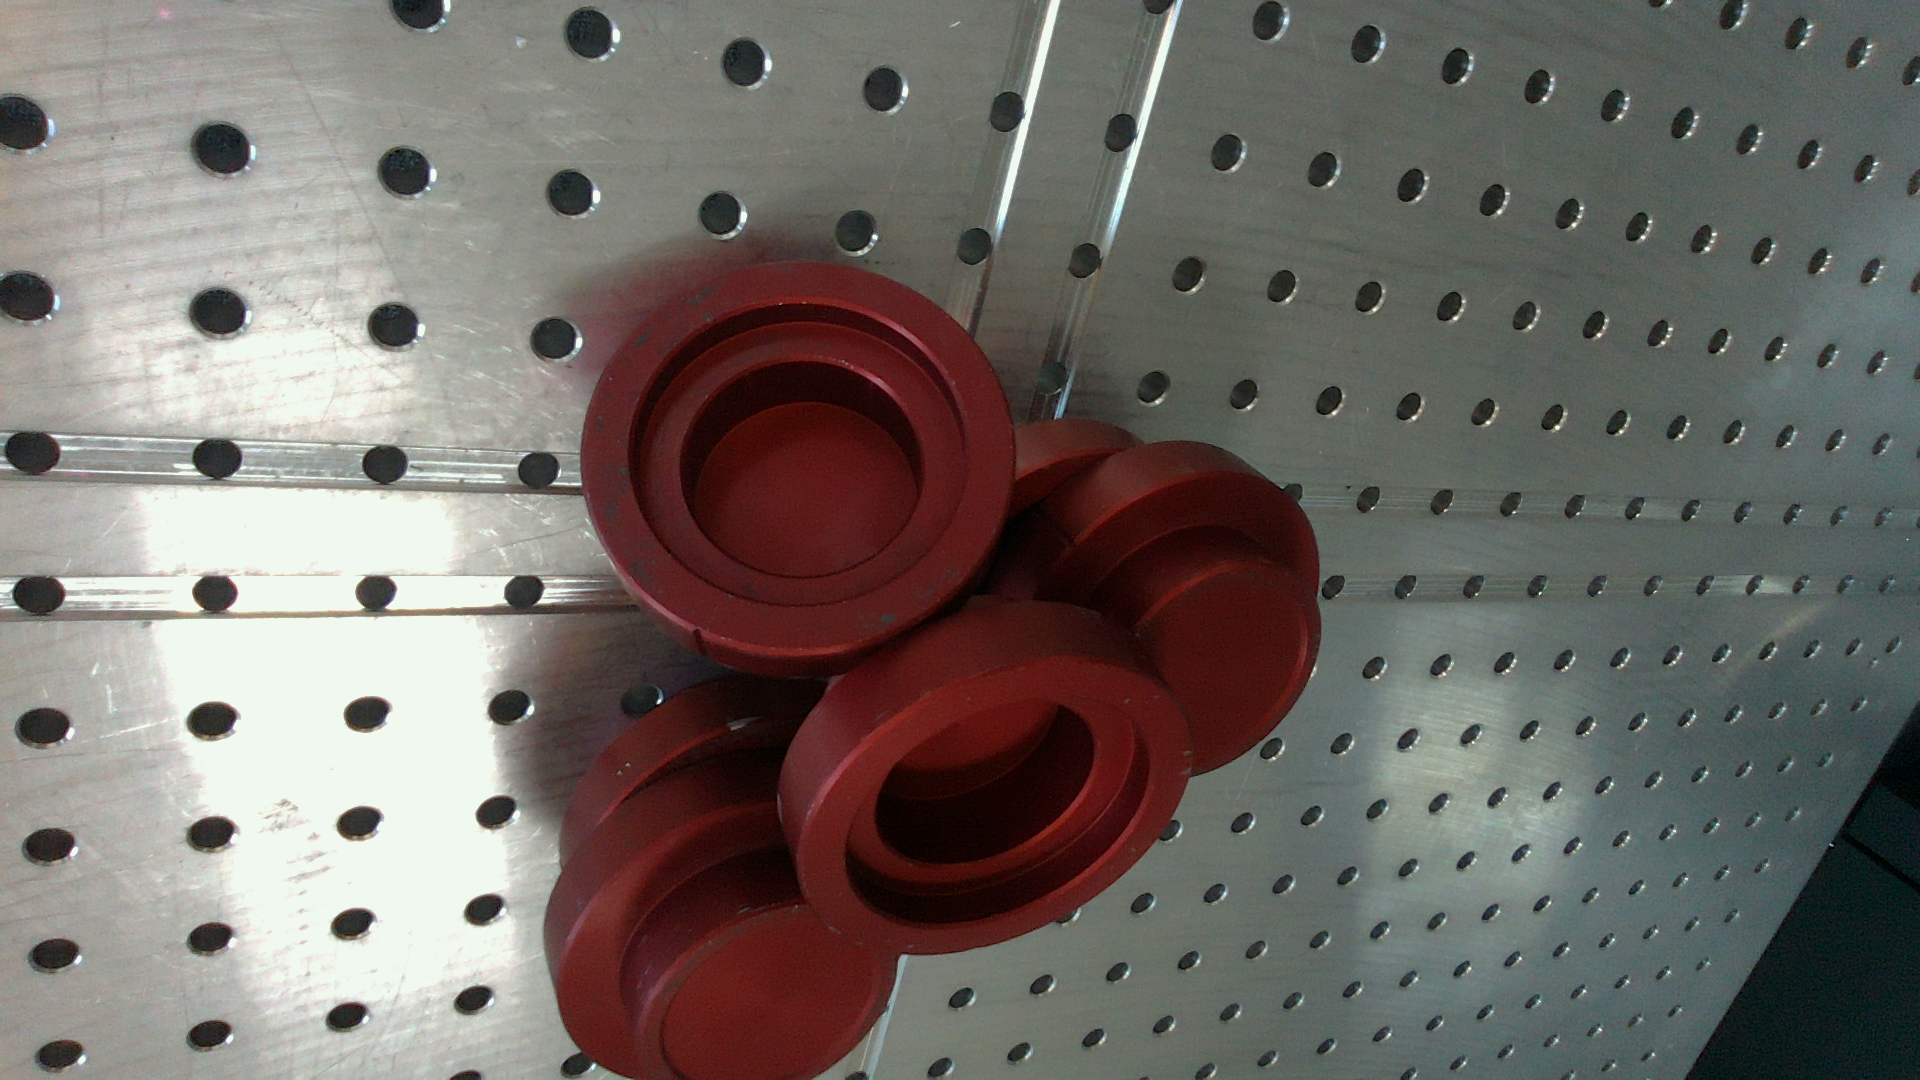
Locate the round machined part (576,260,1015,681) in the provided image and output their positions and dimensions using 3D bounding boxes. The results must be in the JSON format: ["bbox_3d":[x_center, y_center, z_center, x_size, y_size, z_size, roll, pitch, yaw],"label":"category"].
[{"bbox_3d":[-0.038,-0.014,0.328,0.098,0.098,0.042,-25,163,-13],"label":"round machined part"}]

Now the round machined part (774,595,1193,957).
[{"bbox_3d":[0.003,0.052,0.332,0.098,0.042,0.098,-13,131,-15],"label":"round machined part"}]

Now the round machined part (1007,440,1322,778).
[{"bbox_3d":[0.058,0.026,0.373,0.098,0.042,0.098,-14,123,-21],"label":"round machined part"}]

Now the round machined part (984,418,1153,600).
[{"bbox_3d":[0.029,0.019,0.381,0.098,0.042,0.098,-14,124,-21],"label":"round machined part"}]

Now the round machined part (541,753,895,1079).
[{"bbox_3d":[-0.056,0.108,0.362,0.098,0.042,0.098,-14,124,-21],"label":"round machined part"}]

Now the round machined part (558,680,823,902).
[{"bbox_3d":[-0.056,0.089,0.378,0.098,0.042,0.098,-14,124,-21],"label":"round machined part"}]
